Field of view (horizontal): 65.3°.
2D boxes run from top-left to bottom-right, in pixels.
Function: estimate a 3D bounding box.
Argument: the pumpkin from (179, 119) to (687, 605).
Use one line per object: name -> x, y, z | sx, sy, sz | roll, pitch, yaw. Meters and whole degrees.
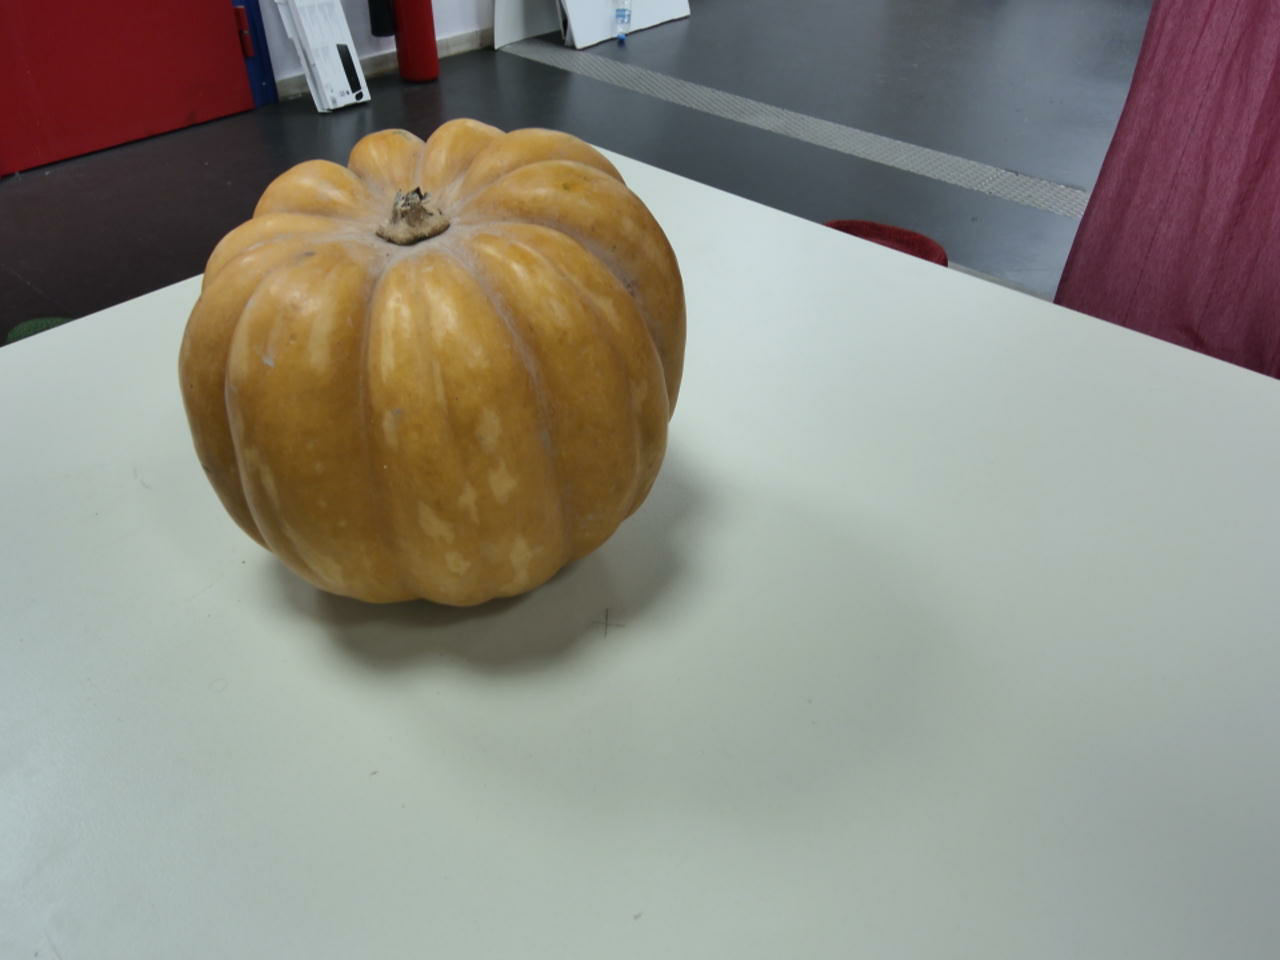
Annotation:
pumpkin -> -0.088, -0.052, 0.459 | 0.230, 0.194, 0.230 | 1, 38, 0
